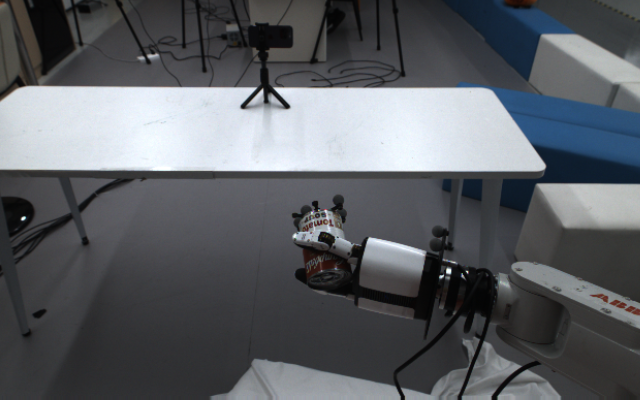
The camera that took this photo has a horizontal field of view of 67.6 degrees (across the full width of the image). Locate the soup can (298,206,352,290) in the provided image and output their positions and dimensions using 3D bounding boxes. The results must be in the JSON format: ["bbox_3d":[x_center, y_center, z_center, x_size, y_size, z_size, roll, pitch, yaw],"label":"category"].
[{"bbox_3d":[0.009,0.073,0.713,0.067,0.067,0.101,-5,57,-10],"label":"soup can"}]
